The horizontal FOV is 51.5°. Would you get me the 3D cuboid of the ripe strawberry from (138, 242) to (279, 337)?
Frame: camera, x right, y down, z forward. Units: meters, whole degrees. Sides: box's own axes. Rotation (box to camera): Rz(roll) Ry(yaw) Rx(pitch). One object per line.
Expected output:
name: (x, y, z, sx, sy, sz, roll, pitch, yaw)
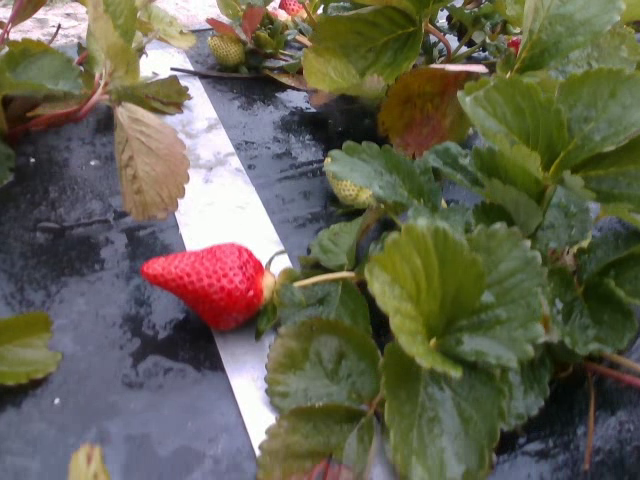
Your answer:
ripe strawberry: (-0.045, 0.015, 0.254, 0.051, 0.042, 0.037, 11, -25, -20)
